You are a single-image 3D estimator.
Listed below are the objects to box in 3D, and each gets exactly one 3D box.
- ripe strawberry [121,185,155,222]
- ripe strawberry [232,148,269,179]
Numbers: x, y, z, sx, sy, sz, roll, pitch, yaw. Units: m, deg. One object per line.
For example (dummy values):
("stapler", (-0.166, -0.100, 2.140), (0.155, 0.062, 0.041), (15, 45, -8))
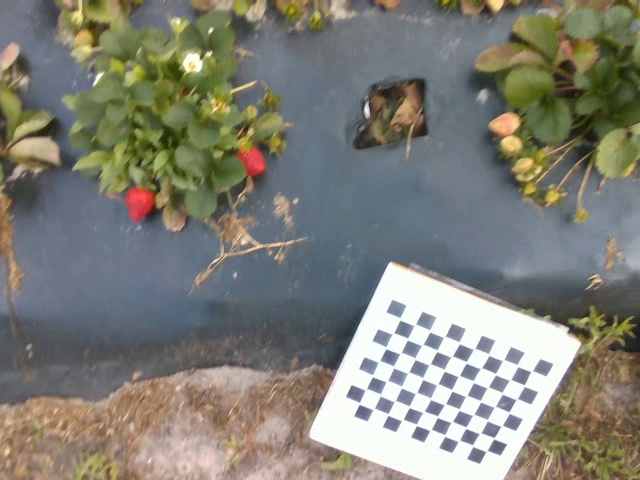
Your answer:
("ripe strawberry", (-0.246, -0.048, 0.886), (0.043, 0.051, 0.043), (7, -16, -5))
("ripe strawberry", (-0.094, -0.104, 0.902), (0.046, 0.043, 0.046), (25, 9, 22))
